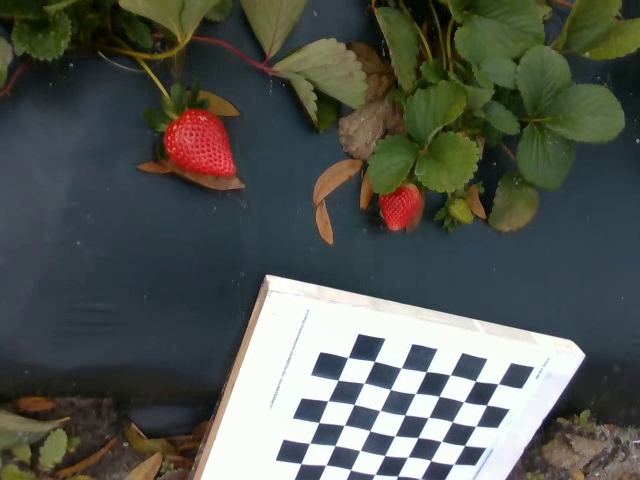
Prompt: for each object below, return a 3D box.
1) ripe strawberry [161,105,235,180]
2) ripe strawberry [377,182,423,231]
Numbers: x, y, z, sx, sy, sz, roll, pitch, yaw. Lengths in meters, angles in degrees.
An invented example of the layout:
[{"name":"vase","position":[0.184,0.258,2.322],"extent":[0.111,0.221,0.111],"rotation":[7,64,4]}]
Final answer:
[{"name":"ripe strawberry","position":[-0.077,-0.060,0.412],"extent":[0.065,0.047,0.042],"rotation":[40,26,26]},{"name":"ripe strawberry","position":[0.063,-0.021,0.464],"extent":[0.040,0.042,0.037],"rotation":[24,-28,-24]}]
